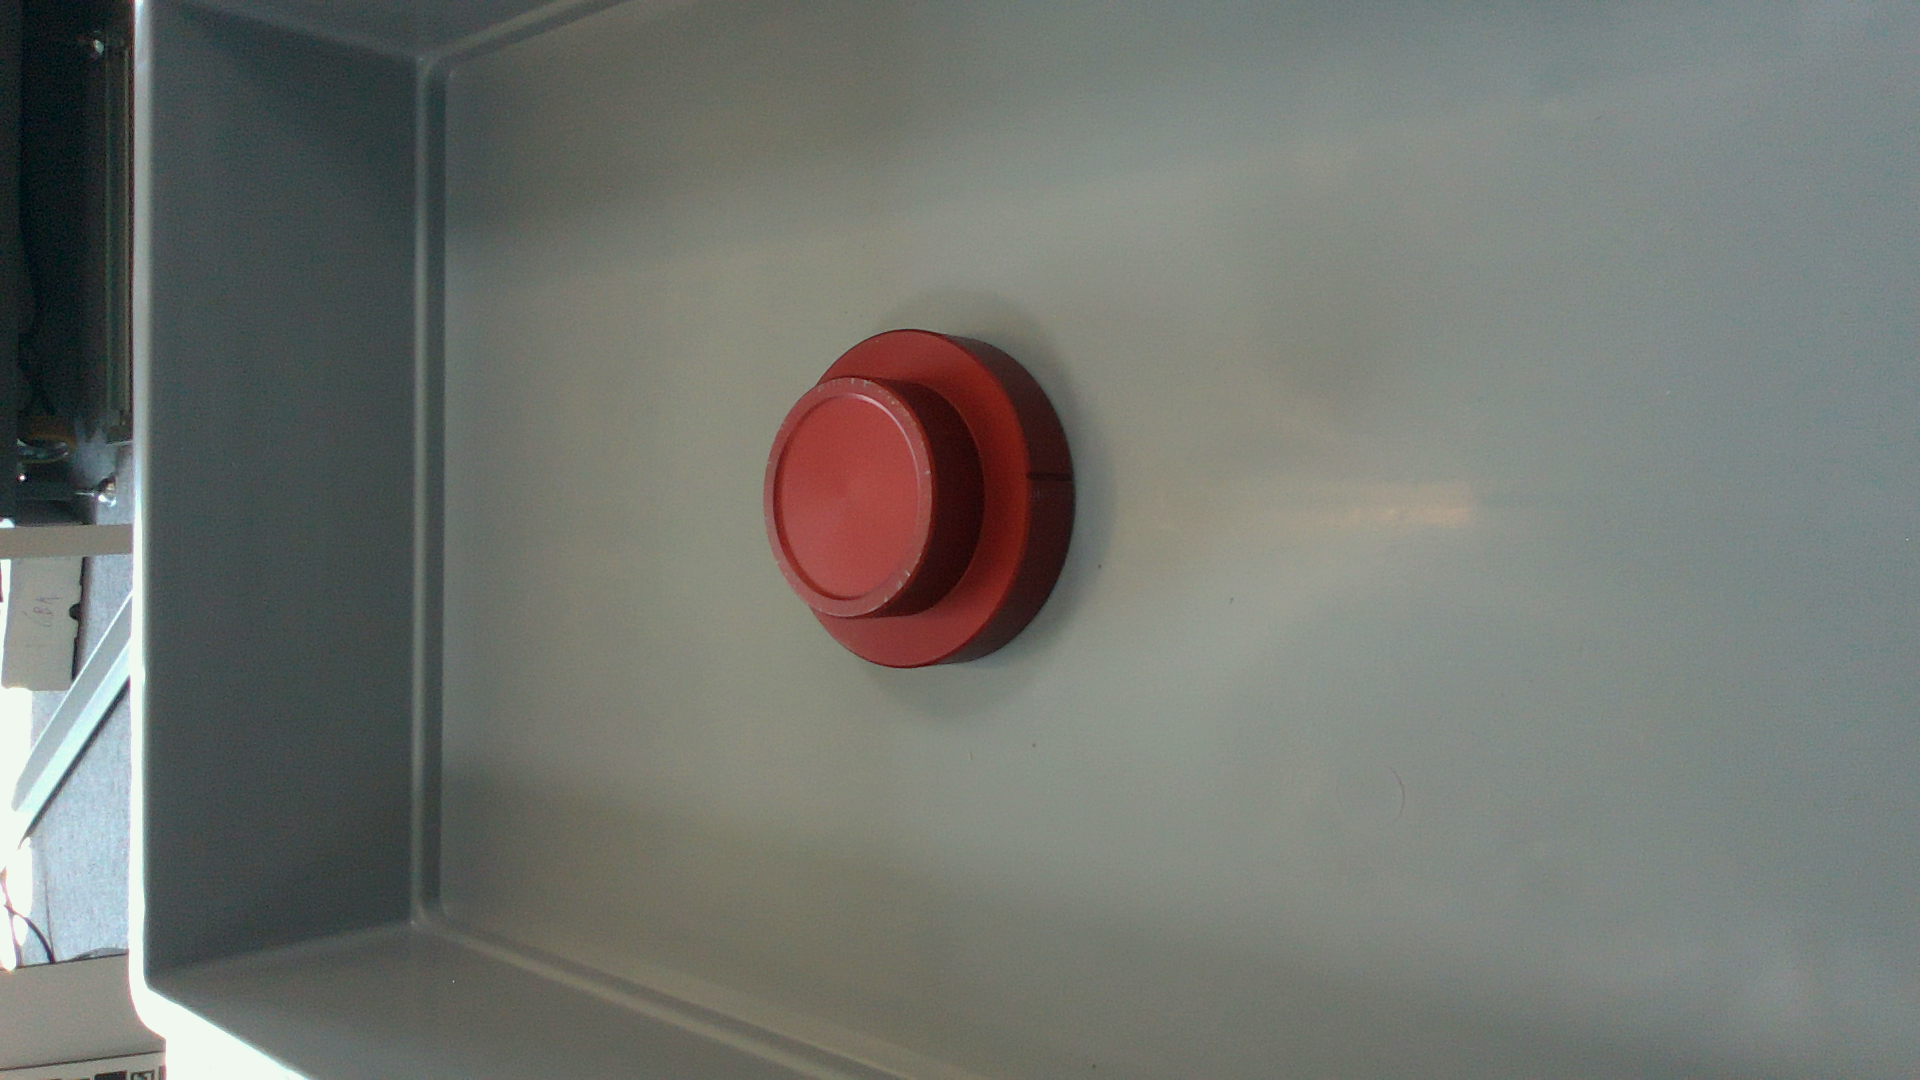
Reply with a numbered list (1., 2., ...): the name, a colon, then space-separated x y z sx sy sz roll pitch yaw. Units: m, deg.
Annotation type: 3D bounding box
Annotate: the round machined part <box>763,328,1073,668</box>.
1. round machined part: -0.019 -0.012 0.396 0.098 0.042 0.098 0 90 40
